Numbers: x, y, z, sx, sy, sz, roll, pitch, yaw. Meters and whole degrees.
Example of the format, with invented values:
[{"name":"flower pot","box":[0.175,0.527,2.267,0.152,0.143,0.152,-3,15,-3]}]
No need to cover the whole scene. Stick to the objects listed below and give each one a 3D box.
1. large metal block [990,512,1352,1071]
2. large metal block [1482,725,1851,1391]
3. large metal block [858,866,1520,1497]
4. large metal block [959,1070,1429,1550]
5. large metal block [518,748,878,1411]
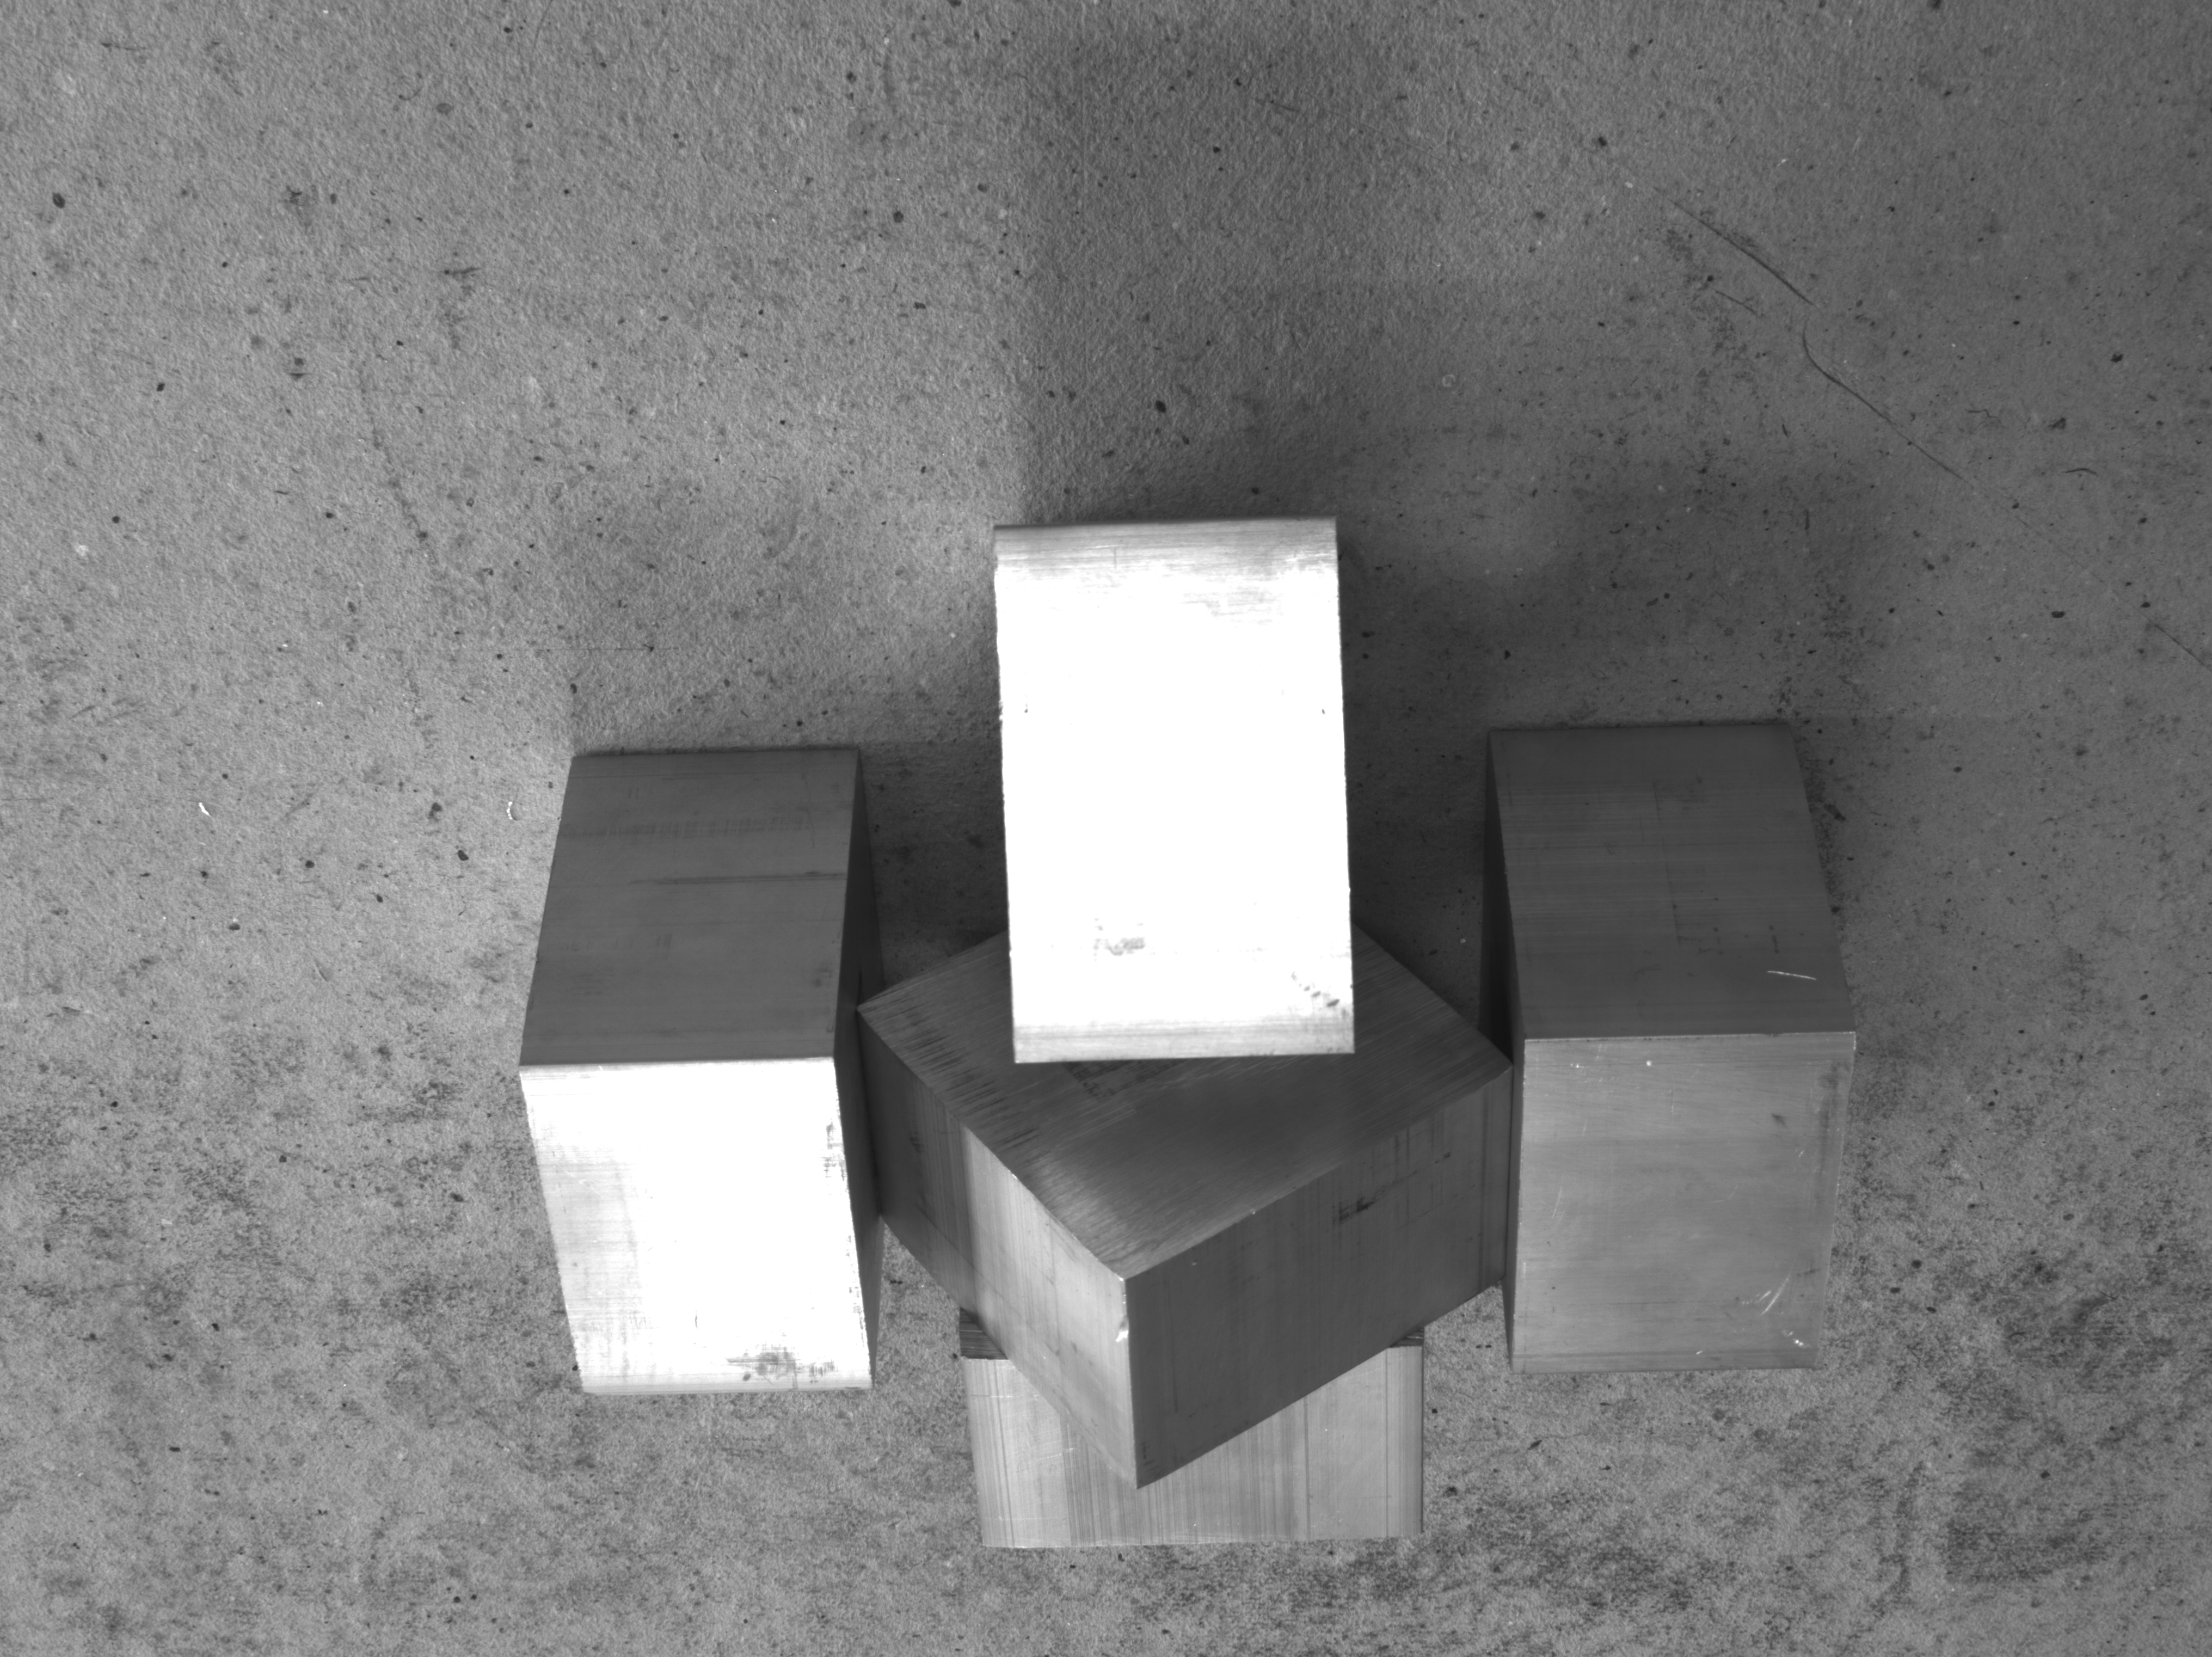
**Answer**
[{"name":"large metal block","box":[0.011,-0.007,0.578,0.050,0.080,0.080,-2,92,2]},{"name":"large metal block","box":[0.093,0.039,0.636,0.050,0.080,0.080,-2,129,1]},{"name":"large metal block","box":[0.014,0.055,0.630,0.080,0.080,0.050,-26,134,-25]},{"name":"large metal block","box":[0.016,0.083,0.674,0.080,0.080,0.050,-2,130,2]},{"name":"large metal block","box":[-0.067,0.043,0.638,0.050,0.080,0.080,-2,130,1]}]
